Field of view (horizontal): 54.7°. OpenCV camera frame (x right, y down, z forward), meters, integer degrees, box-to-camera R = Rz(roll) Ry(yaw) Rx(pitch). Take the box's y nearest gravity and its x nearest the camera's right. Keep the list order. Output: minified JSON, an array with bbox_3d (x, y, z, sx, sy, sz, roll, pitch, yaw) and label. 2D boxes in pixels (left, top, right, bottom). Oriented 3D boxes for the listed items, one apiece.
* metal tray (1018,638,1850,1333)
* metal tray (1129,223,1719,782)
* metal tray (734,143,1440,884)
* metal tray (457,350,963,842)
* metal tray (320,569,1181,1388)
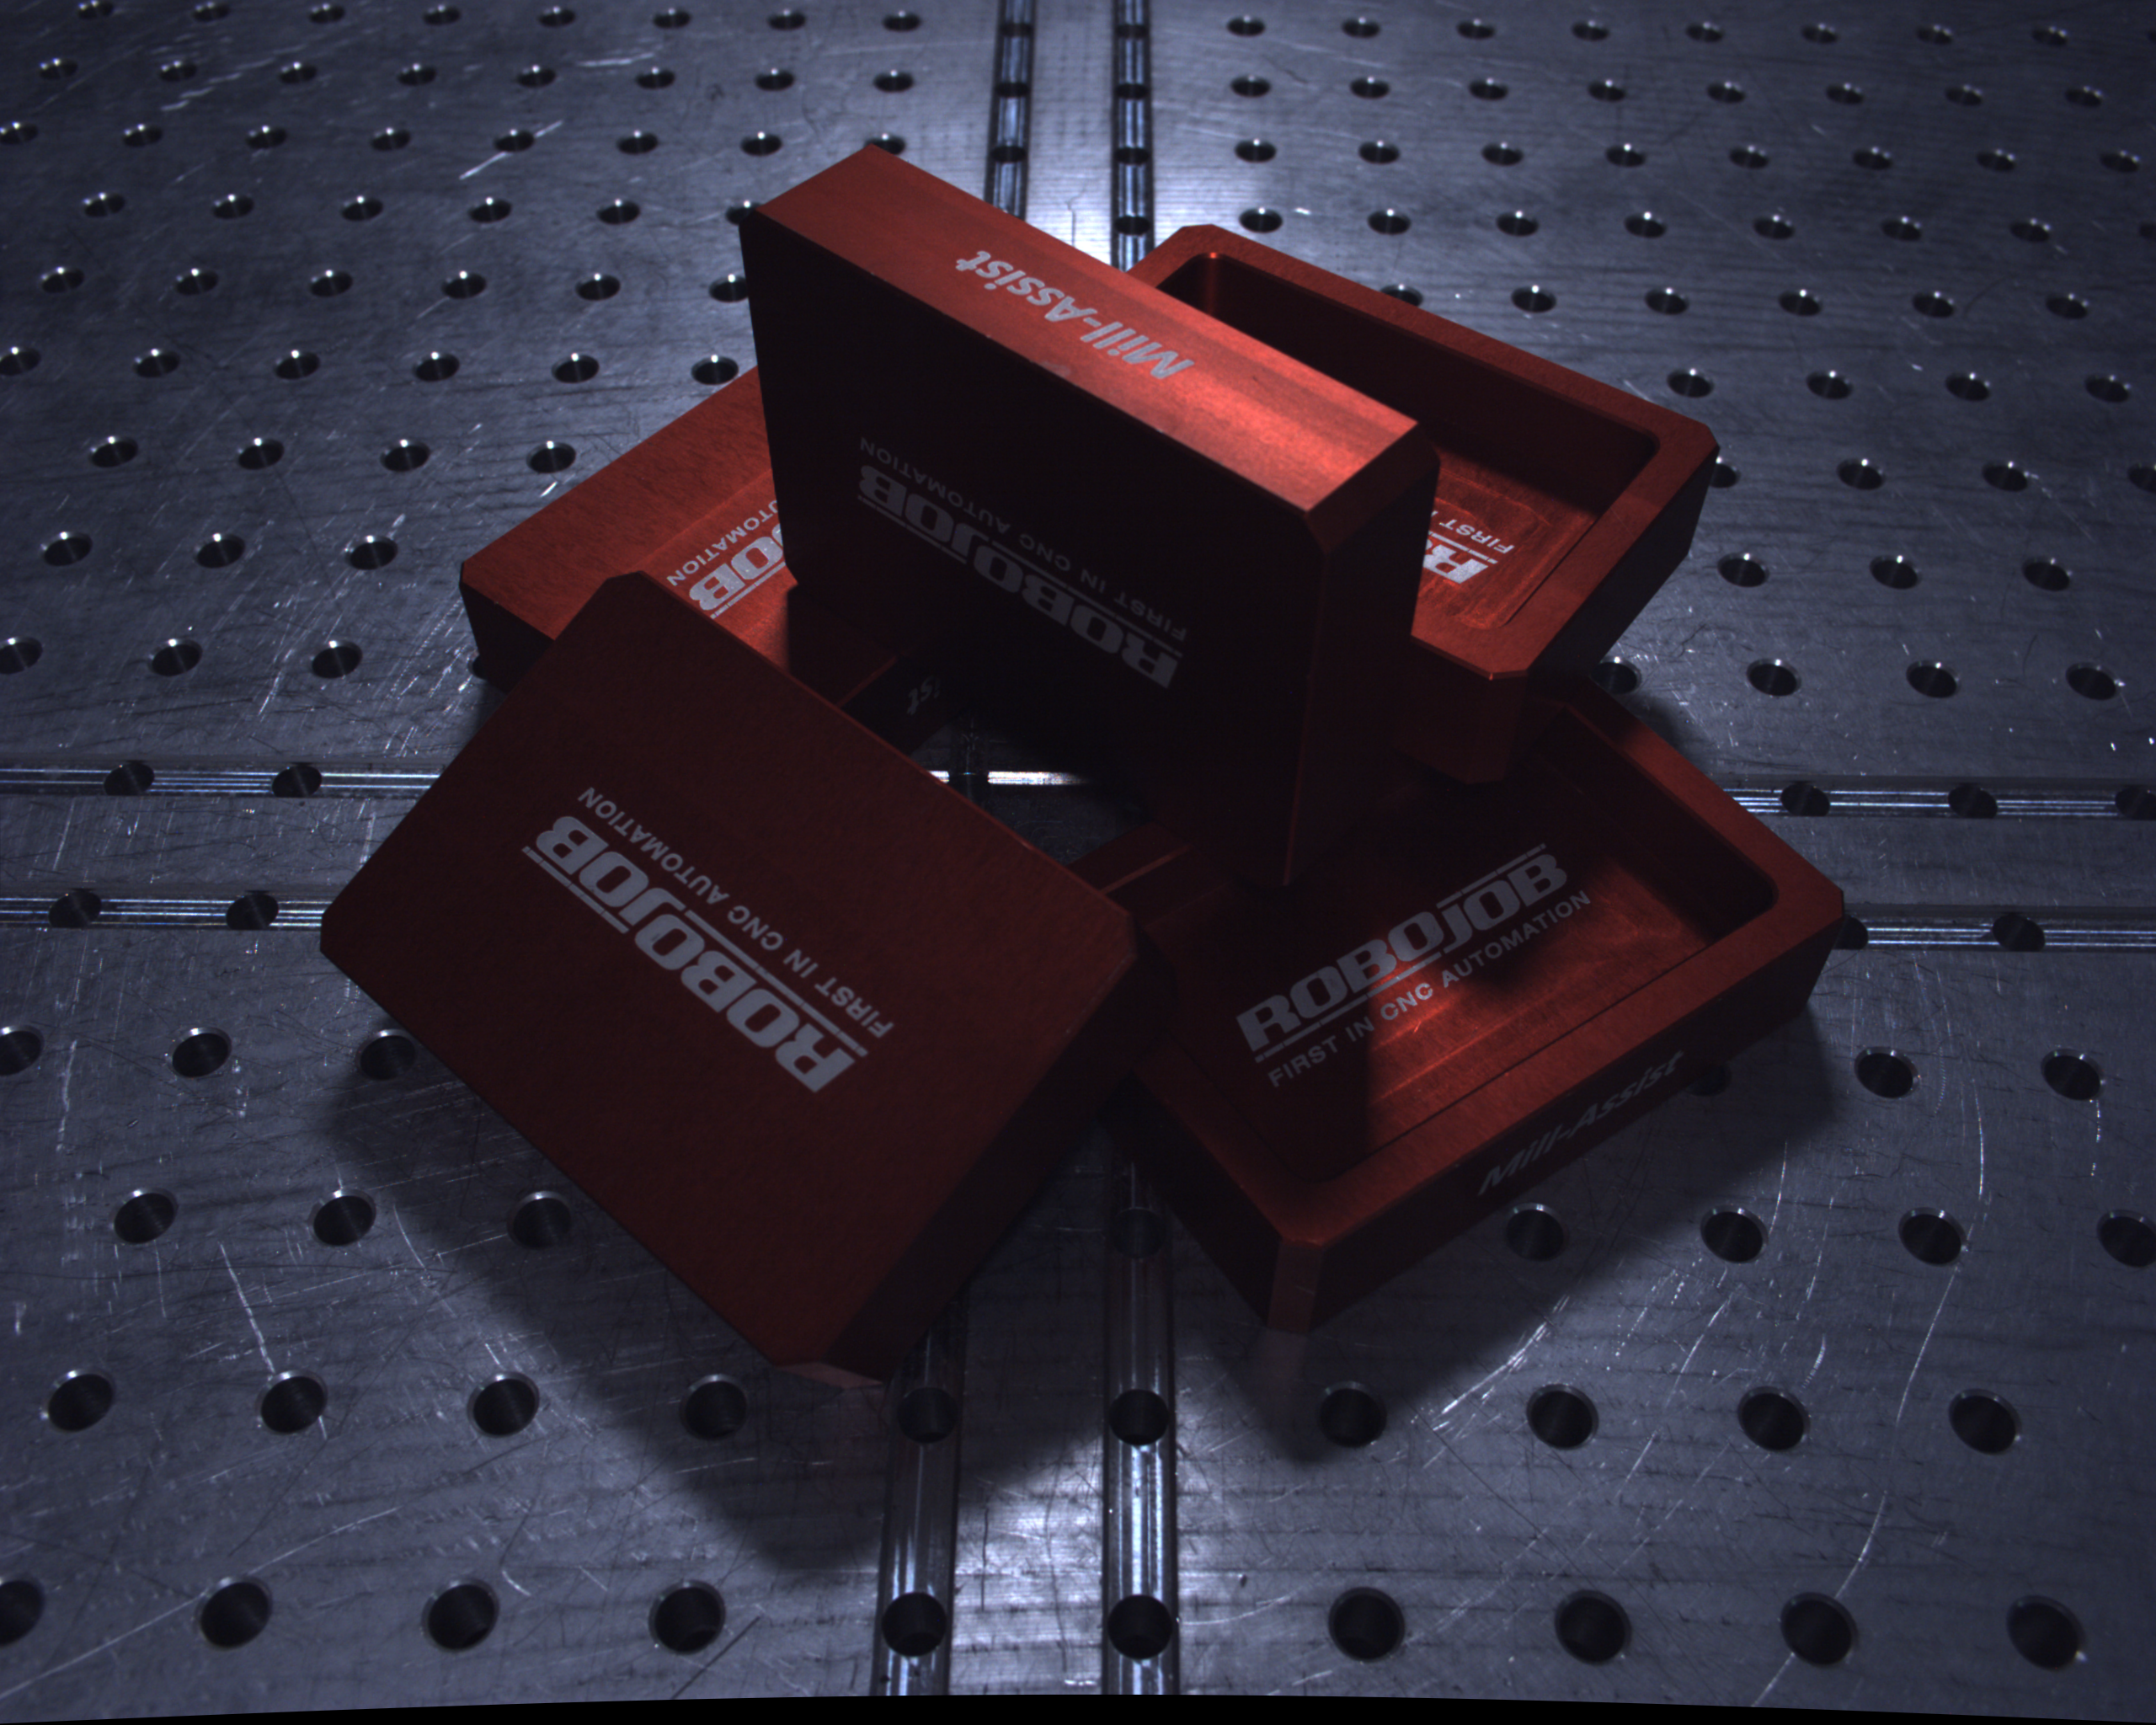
[{"bbox_3d":[0.064,0.017,0.389,0.131,0.030,0.090,-27,55,-21],"label":"metal tray"},{"bbox_3d":[0.052,-0.079,0.432,0.130,0.030,0.090,29,56,22],"label":"metal tray"},{"bbox_3d":[-0.002,-0.063,0.378,0.130,0.089,0.030,33,58,24],"label":"metal tray"},{"bbox_3d":[-0.056,-0.068,0.460,0.090,0.030,0.131,32,56,23],"label":"metal tray"},{"bbox_3d":[-0.059,0.017,0.365,0.130,0.030,0.090,35,83,25],"label":"metal tray"}]
